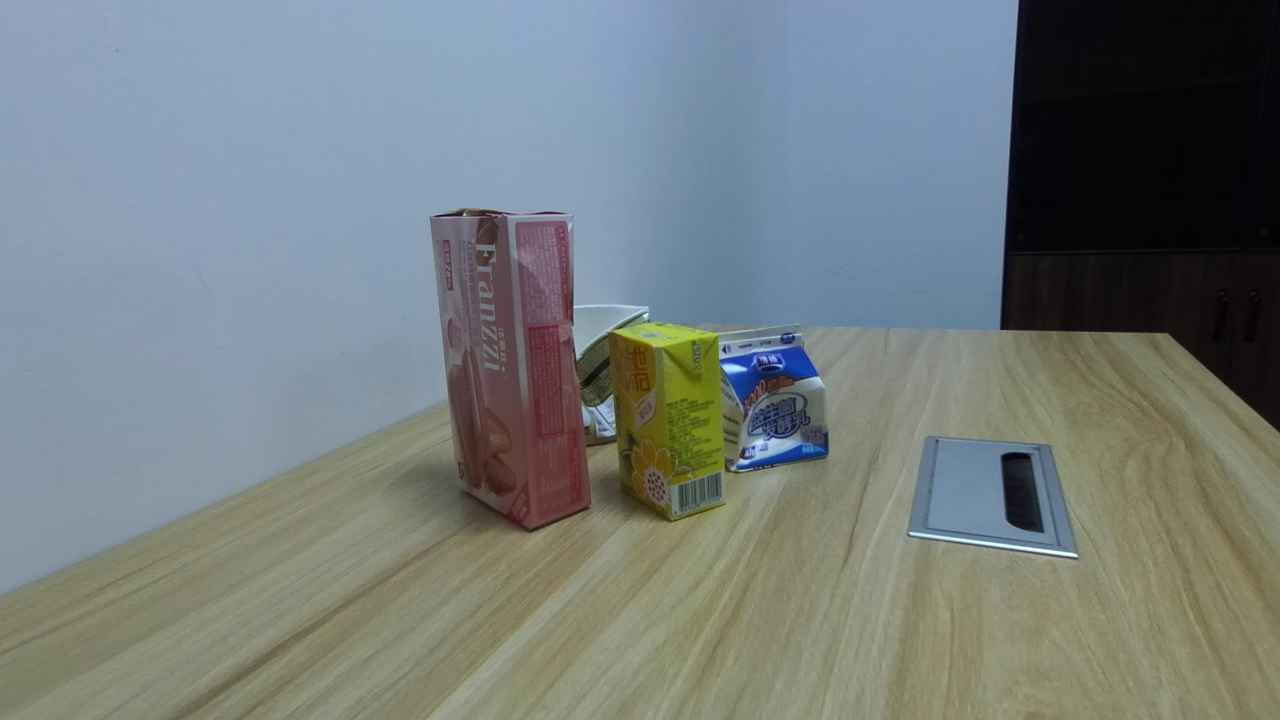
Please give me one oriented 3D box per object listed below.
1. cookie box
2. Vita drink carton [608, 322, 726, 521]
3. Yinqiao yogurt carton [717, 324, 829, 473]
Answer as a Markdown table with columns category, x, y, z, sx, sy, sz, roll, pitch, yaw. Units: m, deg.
| category | x | y | z | sx | sy | sz | roll | pitch | yaw |
| --- | --- | --- | --- | --- | --- | --- | --- | --- | --- |
| cookie box | -0.079 | 0.001 | 0.443 | 0.049 | 0.187 | 0.104 | -13 | 16 | -38 |
| Vita drink carton | 0.015 | 0.035 | 0.441 | 0.044 | 0.109 | 0.066 | -12 | 17 | -30 |
| Yinqiao yogurt carton | 0.086 | 0.022 | 0.508 | 0.077 | 0.094 | 0.071 | -8 | 19 | -13 |
